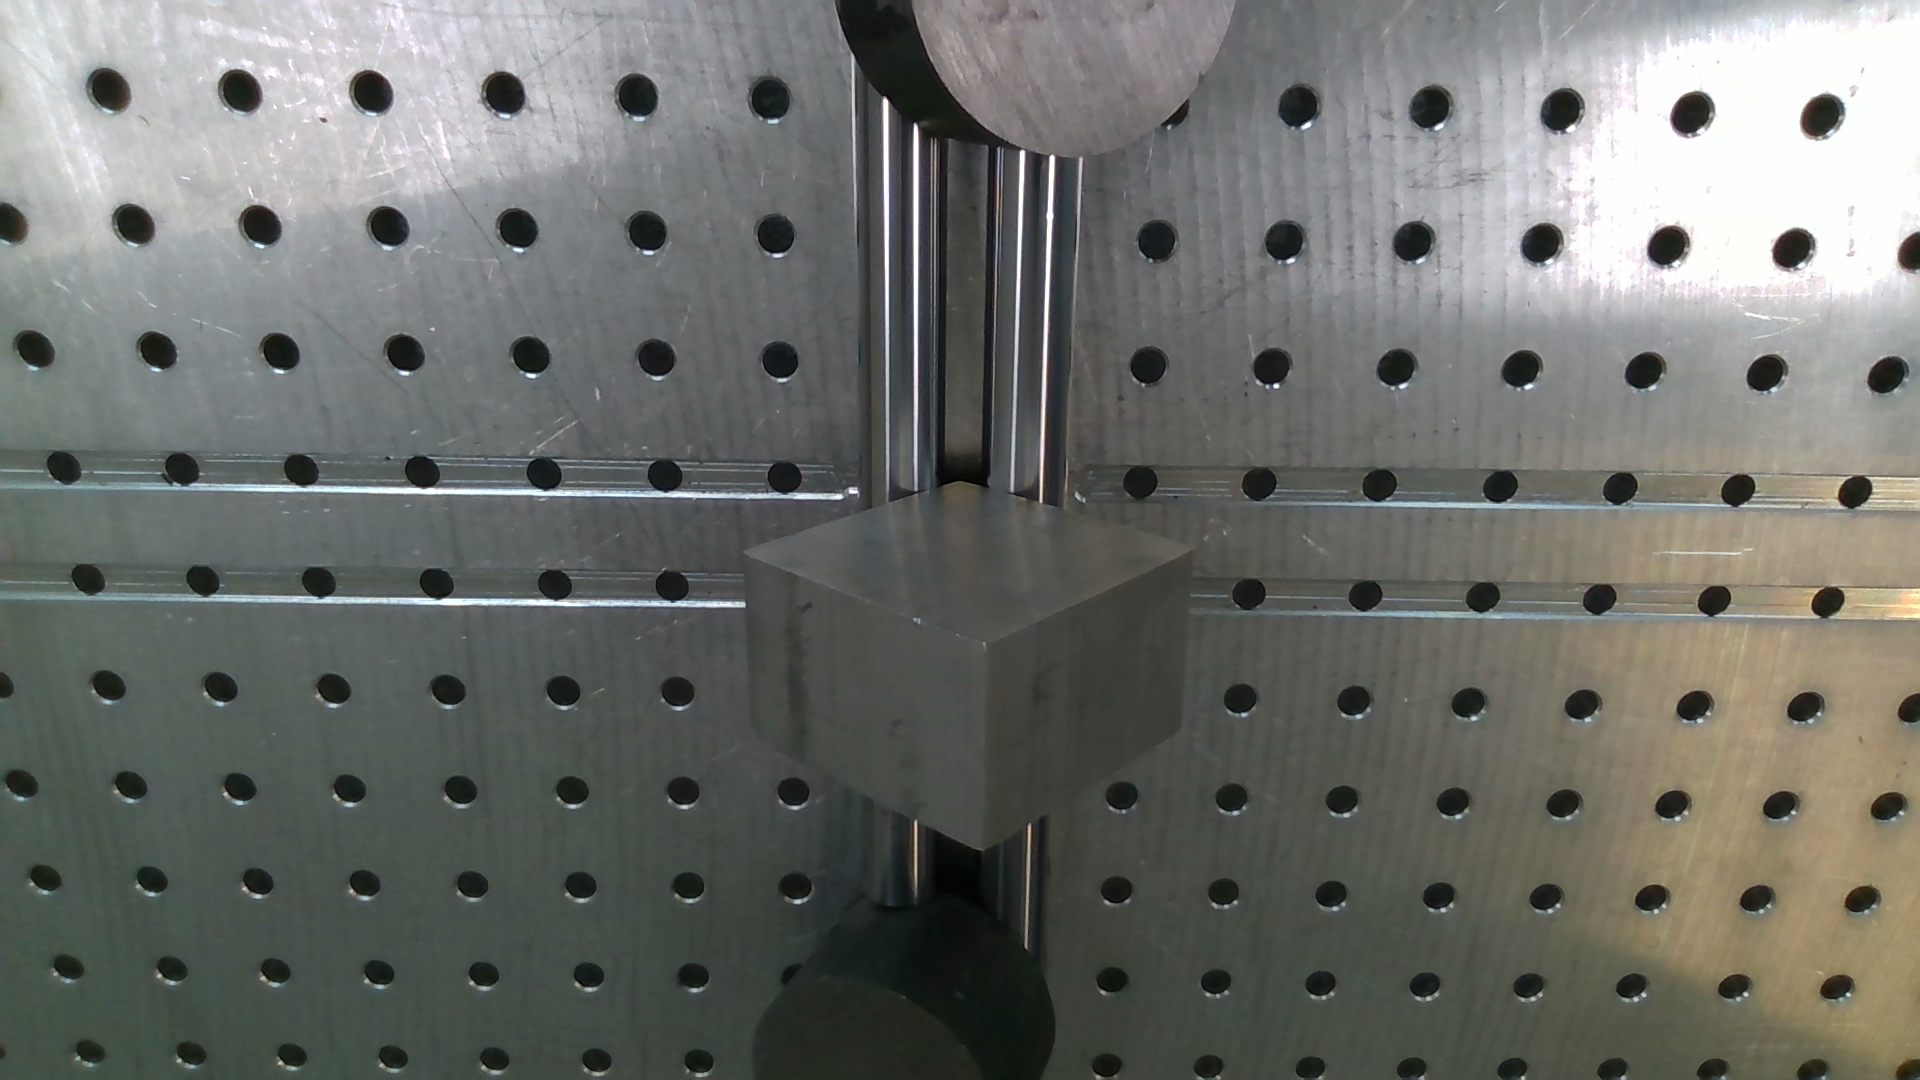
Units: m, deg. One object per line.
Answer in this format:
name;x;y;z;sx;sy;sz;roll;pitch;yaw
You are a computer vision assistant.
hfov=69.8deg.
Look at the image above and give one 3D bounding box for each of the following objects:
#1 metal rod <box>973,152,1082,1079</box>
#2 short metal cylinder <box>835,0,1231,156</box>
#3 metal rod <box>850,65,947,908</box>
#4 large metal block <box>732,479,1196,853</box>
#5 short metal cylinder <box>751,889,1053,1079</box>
metal rod;0.017;0.038;0.409;0.025;0.025;0.301;1;110;0
short metal cylinder;0.016;-0.132;0.319;0.080;0.050;0.080;-8;112;-21
metal rod;-0.017;-0.032;0.384;0.025;0.025;0.301;1;110;0
large metal block;0.001;0.026;0.344;0.080;0.080;0.050;18;116;39
short metal cylinder;-0.017;0.155;0.425;0.080;0.050;0.080;8;111;21
